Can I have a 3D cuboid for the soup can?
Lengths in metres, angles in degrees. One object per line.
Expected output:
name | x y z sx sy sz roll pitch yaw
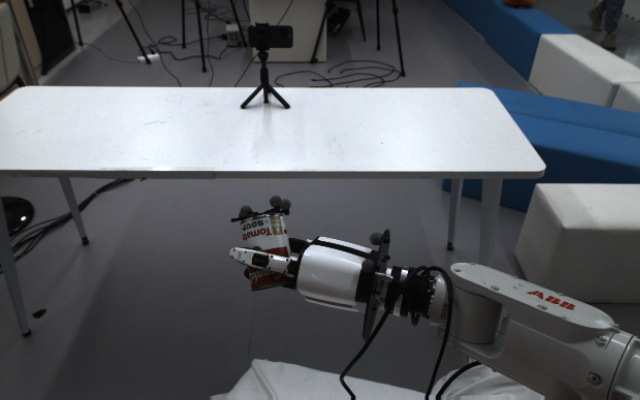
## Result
soup can | -0.074 0.077 0.708 0.067 0.067 0.101 -10 80 -17
